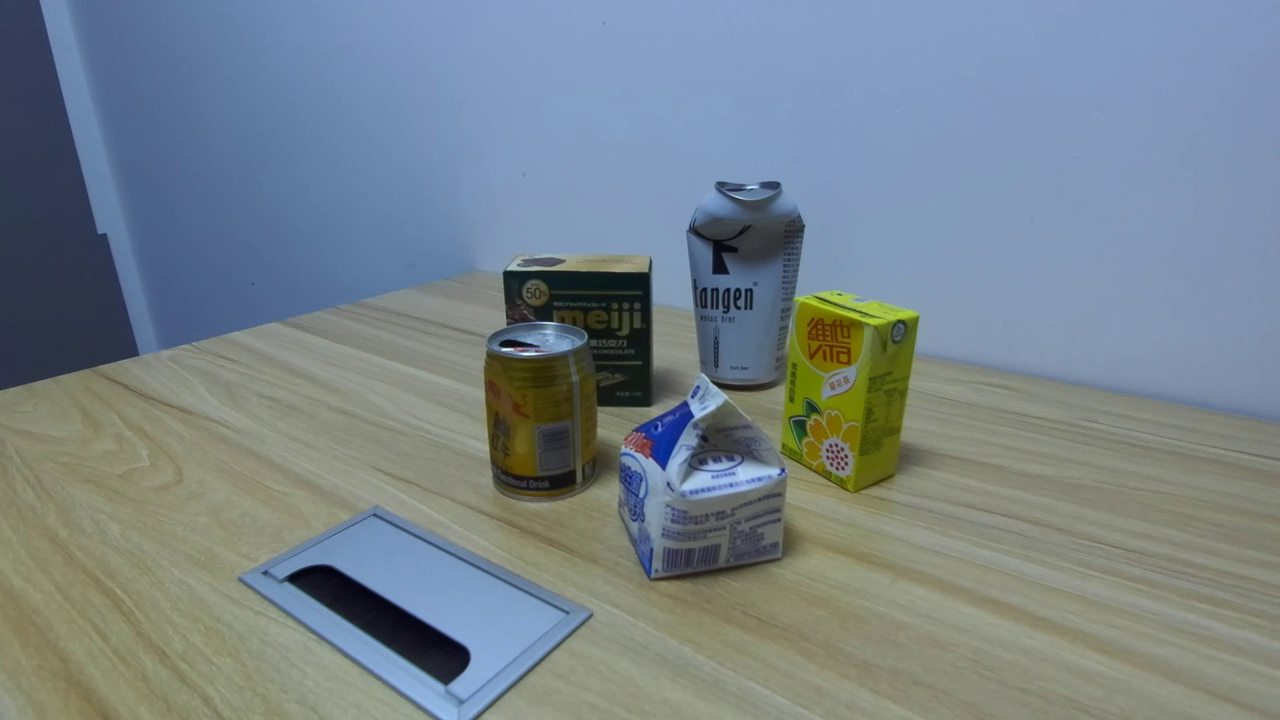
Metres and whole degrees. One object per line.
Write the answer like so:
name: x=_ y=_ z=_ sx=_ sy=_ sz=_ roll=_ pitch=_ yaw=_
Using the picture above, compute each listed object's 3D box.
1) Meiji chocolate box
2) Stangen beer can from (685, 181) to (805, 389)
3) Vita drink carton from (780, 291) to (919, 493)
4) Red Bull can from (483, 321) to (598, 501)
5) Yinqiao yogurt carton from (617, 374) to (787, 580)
Meiji chocolate box: x=-0.044 y=-0.022 z=0.547 sx=0.110 sy=0.109 sz=0.056 roll=1 pitch=20 yaw=2
Stangen beer can: x=0.082 y=-0.058 z=0.565 sx=0.077 sy=0.162 sz=0.065 roll=-14 pitch=24 yaw=-34
Vita drink carton: x=0.128 y=0.017 z=0.438 sx=0.044 sy=0.109 sz=0.066 roll=-12 pitch=24 yaw=-30
Red Bull can: x=-0.061 y=0.030 z=0.430 sx=0.069 sy=0.092 sz=0.069 roll=0 pitch=21 yaw=0
Yinqiao yogurt carton: x=0.033 y=0.052 z=0.368 sx=0.077 sy=0.093 sz=0.083 roll=-5 pitch=21 yaw=-13
